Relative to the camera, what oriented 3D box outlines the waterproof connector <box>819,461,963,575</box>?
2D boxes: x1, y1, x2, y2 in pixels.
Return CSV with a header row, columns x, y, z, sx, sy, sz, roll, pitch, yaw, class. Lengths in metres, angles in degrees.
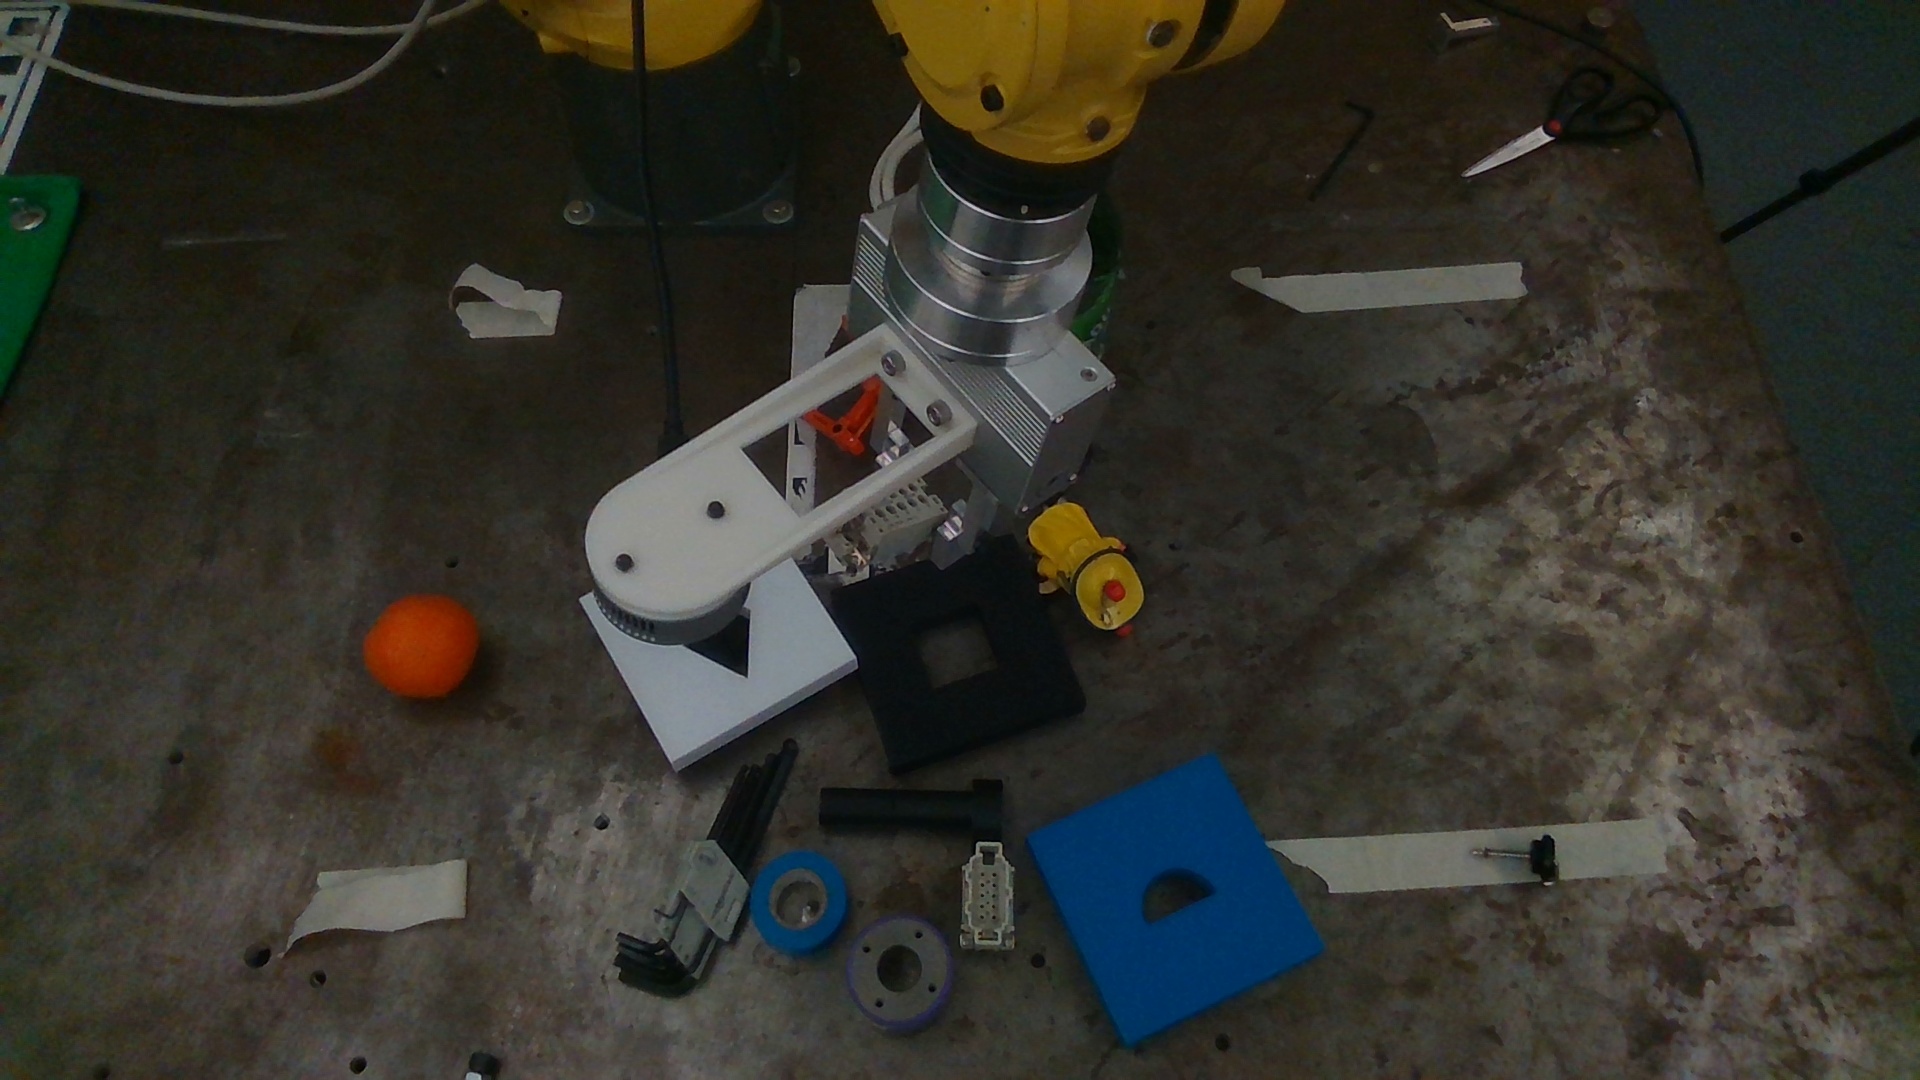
x,y,z,sx,sy,sz,roll,pitch,yaw,class
-0.031,-0.008,0.662,0.069,0.039,0.037,-25,63,-41,waterproof connector
